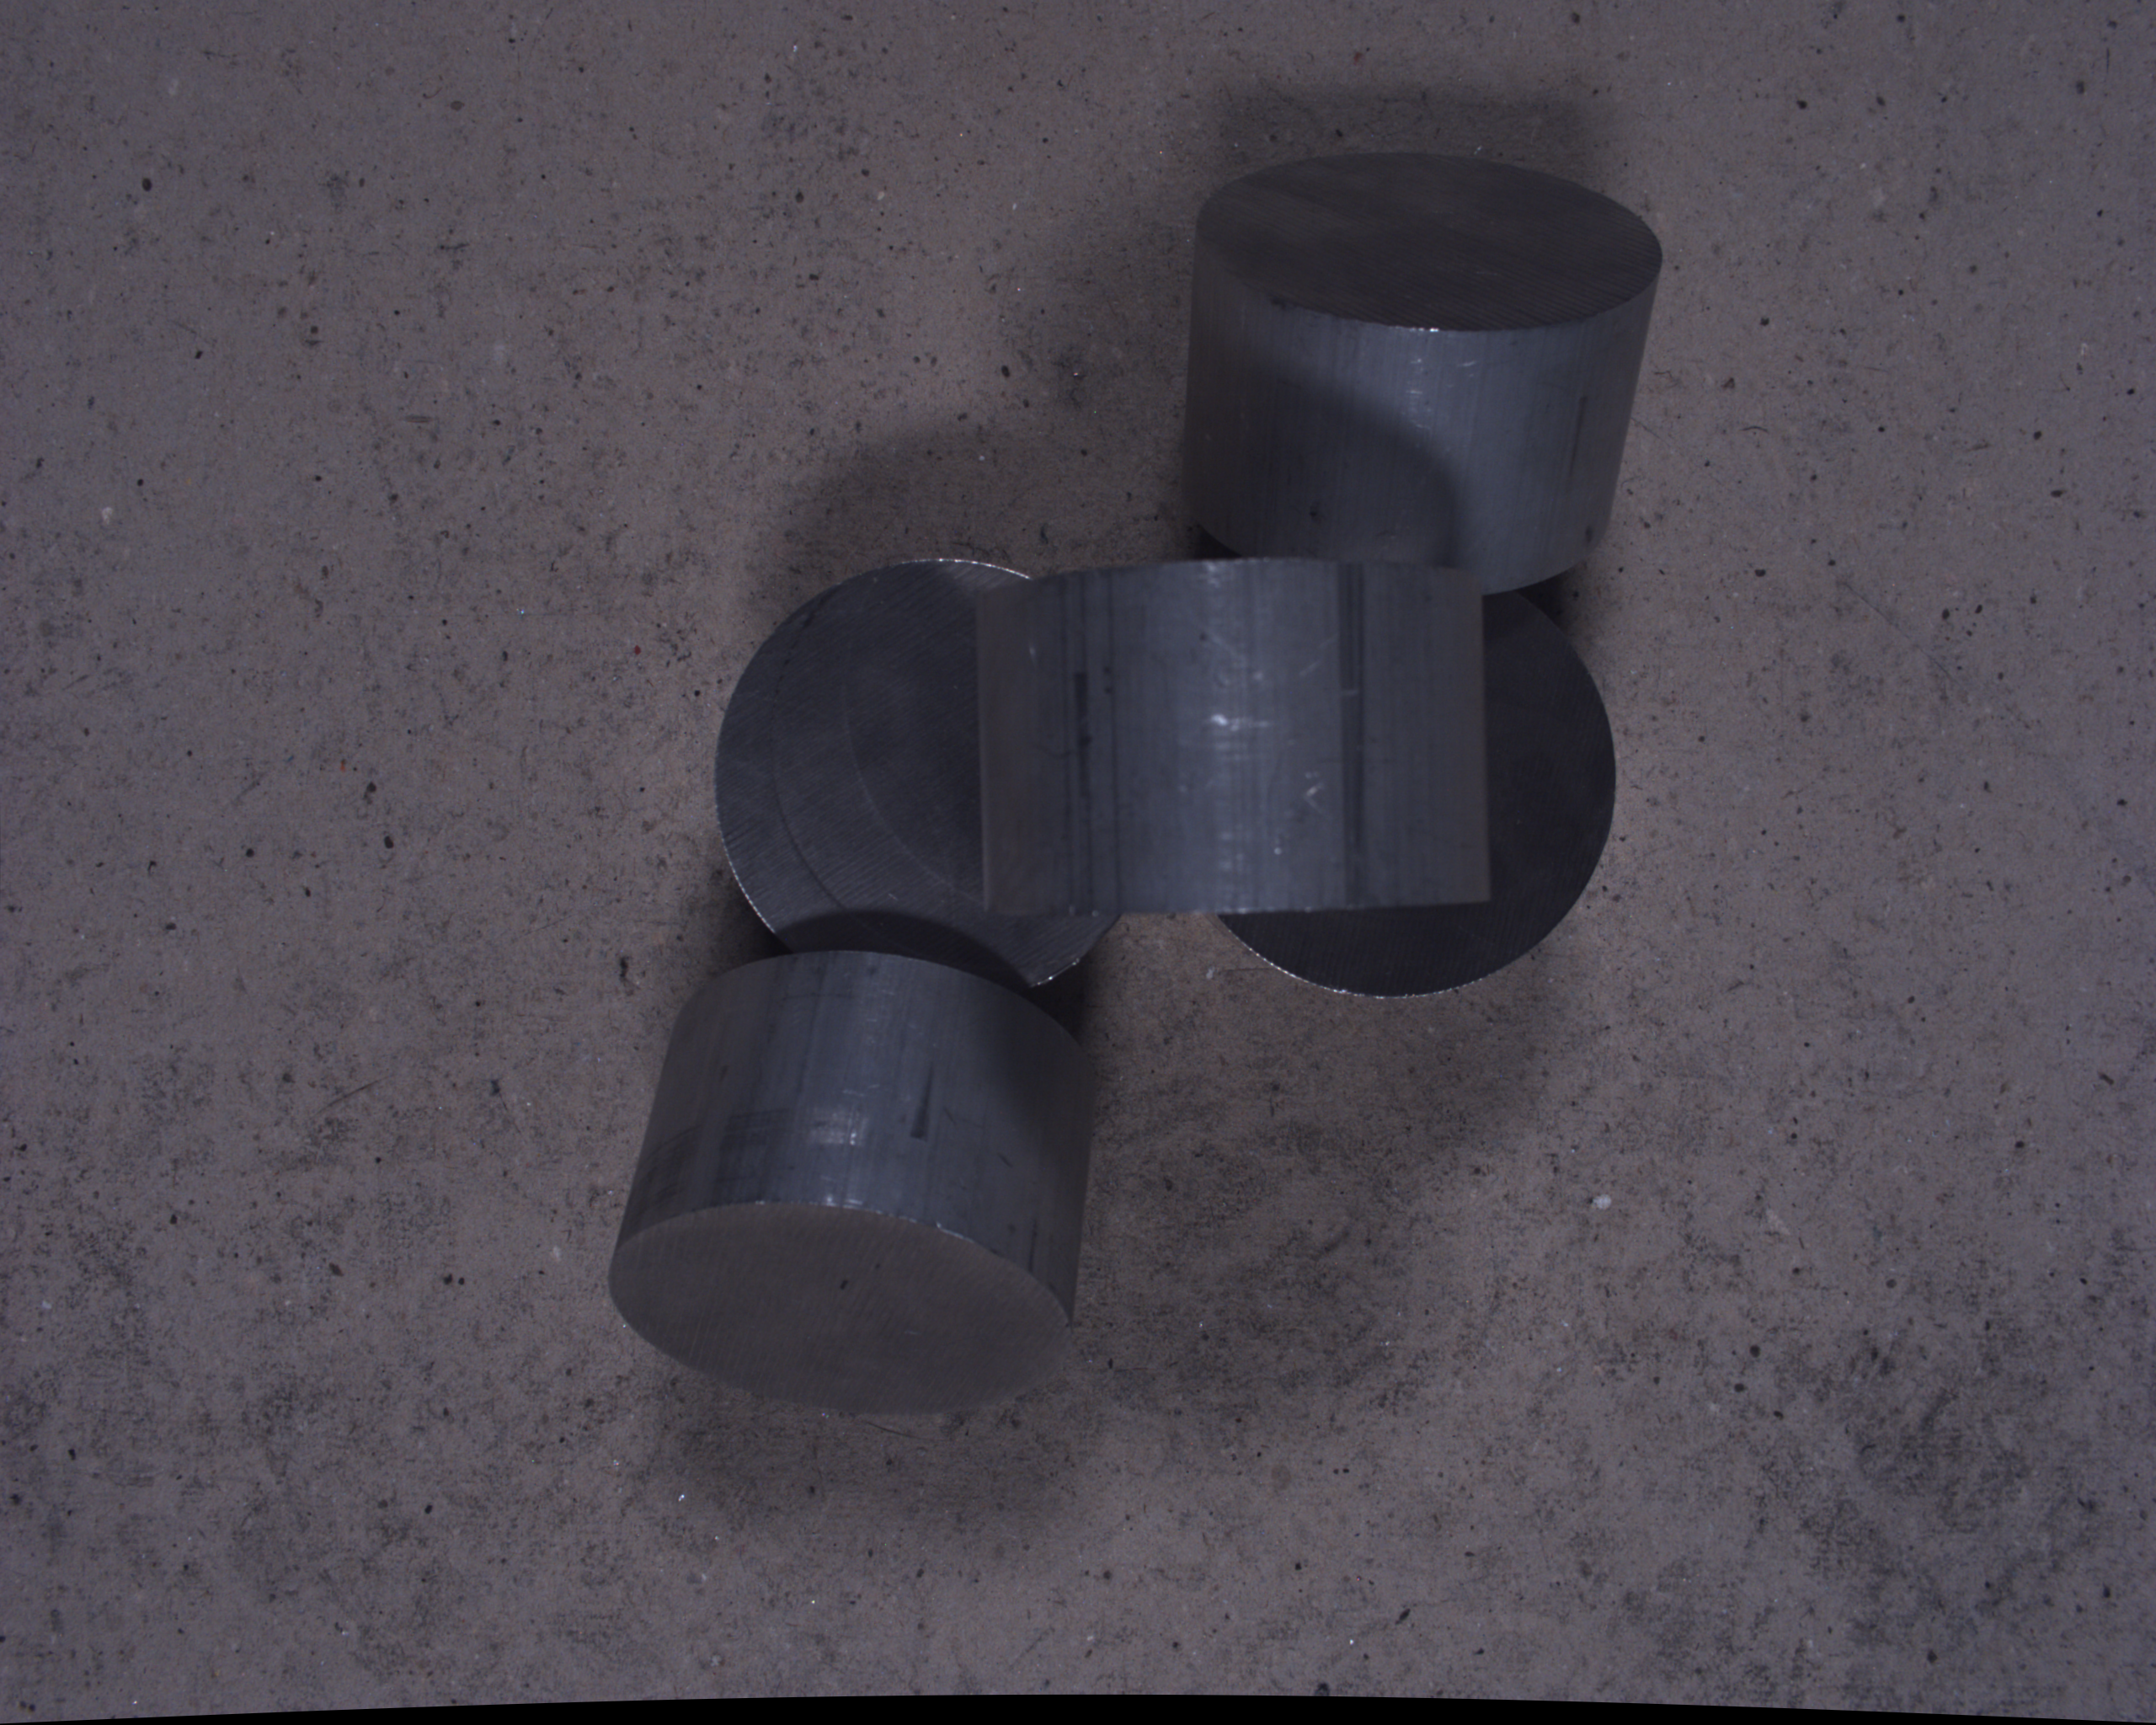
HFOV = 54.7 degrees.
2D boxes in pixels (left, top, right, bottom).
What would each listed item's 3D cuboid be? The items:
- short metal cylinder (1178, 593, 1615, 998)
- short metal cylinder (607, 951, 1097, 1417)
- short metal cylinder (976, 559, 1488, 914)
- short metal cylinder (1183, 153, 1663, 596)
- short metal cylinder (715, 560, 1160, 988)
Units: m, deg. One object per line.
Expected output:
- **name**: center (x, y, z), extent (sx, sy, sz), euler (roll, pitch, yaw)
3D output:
- **short metal cylinder**: center (0.056, -0.016, 0.399), extent (0.081, 0.050, 0.079), euler (0, 90, -1)
- **short metal cylinder**: center (-0.039, 0.060, 0.376), extent (0.081, 0.080, 0.050), euler (7, 51, -1)
- **short metal cylinder**: center (0.025, -0.018, 0.334), extent (0.081, 0.080, 0.050), euler (-1, 90, -1)
- **short metal cylinder**: center (0.060, -0.090, 0.377), extent (0.081, 0.080, 0.050), euler (1, 128, -1)
- **short metal cylinder**: center (-0.025, -0.014, 0.398), extent (0.081, 0.050, 0.079), euler (0, 90, -1)
